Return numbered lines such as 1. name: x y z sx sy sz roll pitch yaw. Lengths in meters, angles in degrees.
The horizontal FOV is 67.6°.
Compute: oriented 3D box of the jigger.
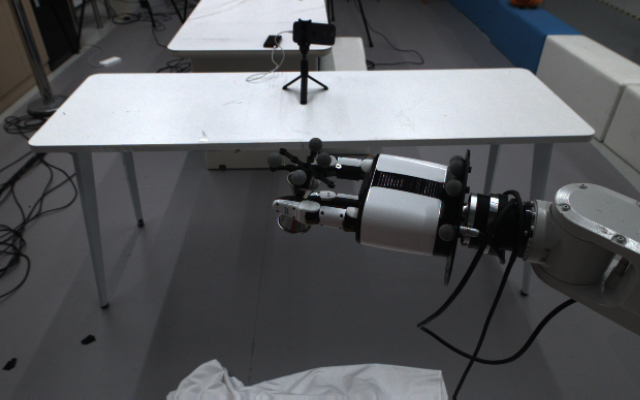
1. jigger: -0.026 0.002 0.599 0.043 0.071 0.043 10 35 -7
